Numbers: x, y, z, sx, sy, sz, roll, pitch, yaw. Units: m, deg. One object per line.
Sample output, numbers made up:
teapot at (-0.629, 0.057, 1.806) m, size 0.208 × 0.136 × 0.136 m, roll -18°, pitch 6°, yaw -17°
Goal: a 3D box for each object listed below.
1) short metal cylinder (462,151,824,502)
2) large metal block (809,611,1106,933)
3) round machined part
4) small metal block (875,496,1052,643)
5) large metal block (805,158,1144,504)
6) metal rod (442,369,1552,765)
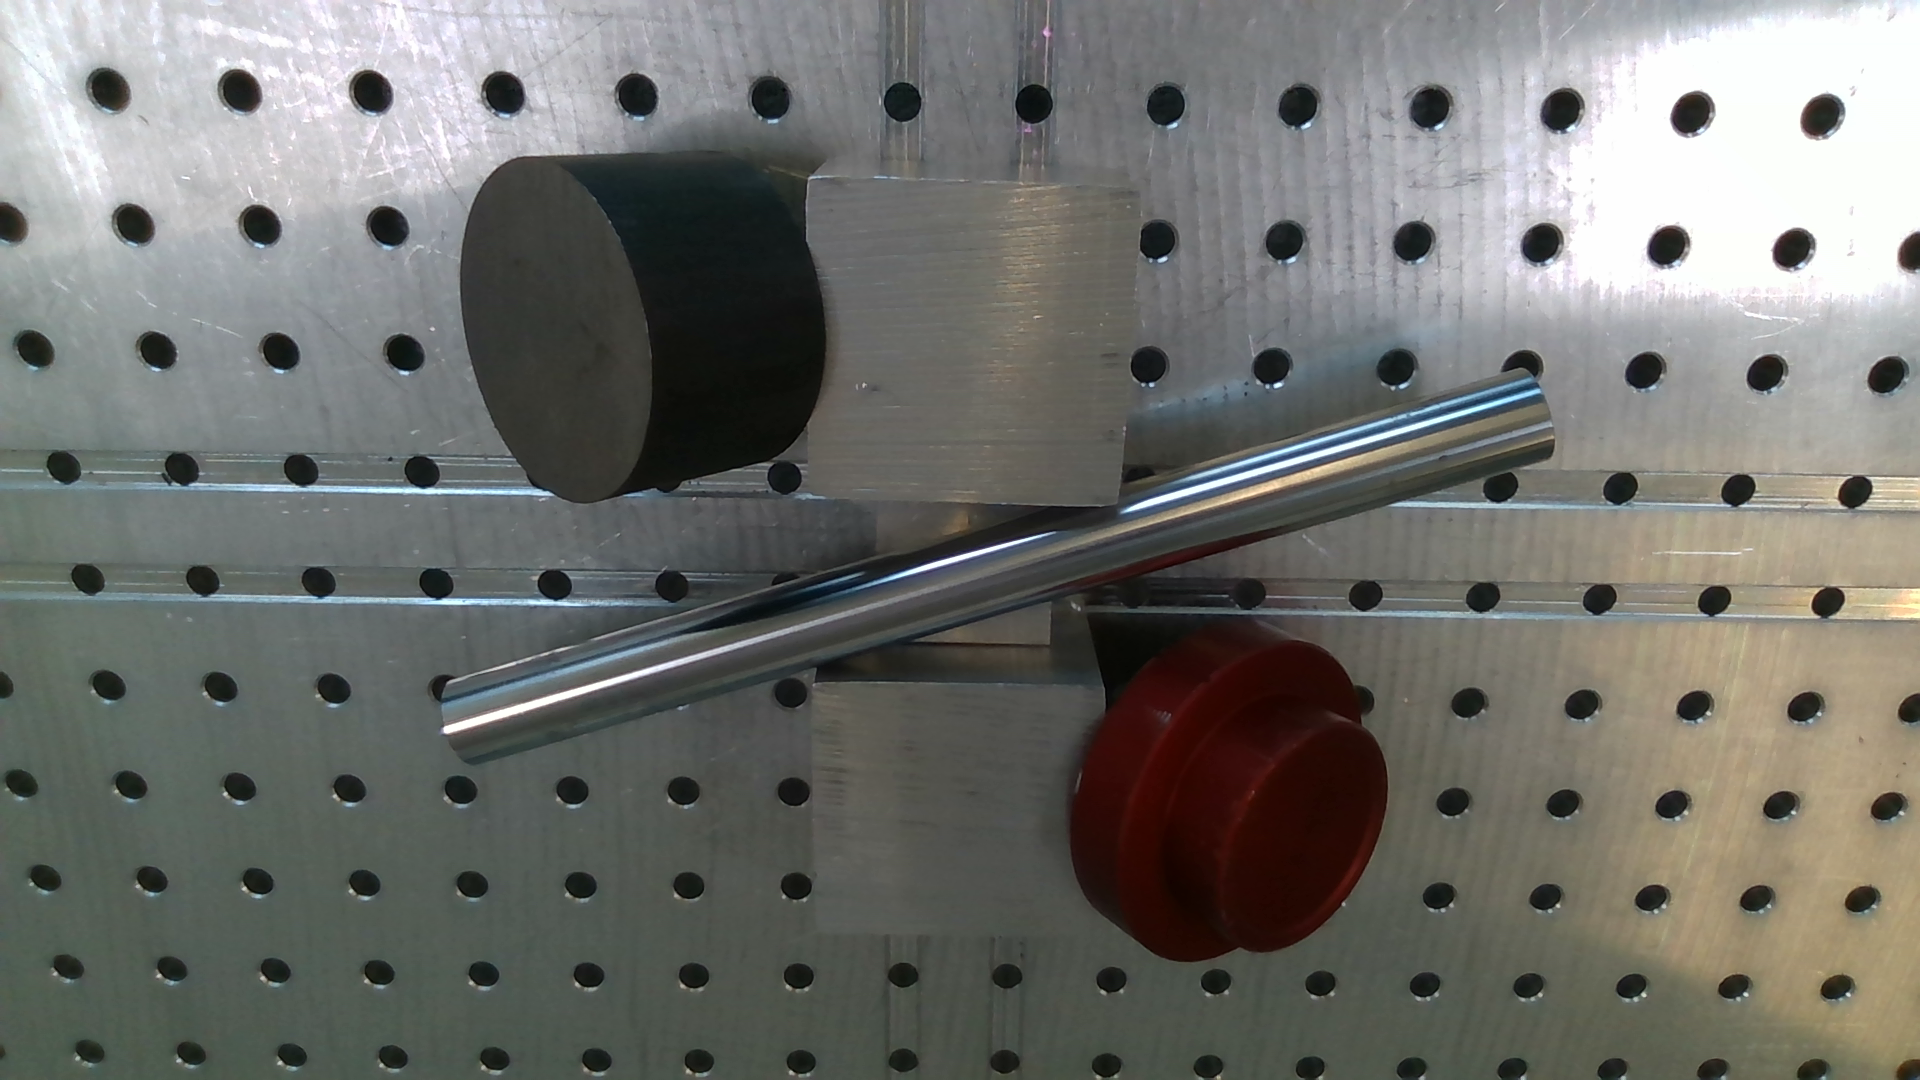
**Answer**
short metal cylinder at (-0.079, -0.054, 0.340) m, size 0.080 × 0.050 × 0.080 m, roll 16°, pitch 114°, yaw 40°
large metal block at (-0.001, 0.067, 0.408) m, size 0.080 × 0.050 × 0.080 m, roll 1°, pitch 110°, yaw 0°
round machined part at (0.081, 0.075, 0.388) m, size 0.098 × 0.042 × 0.098 m, roll -14°, pitch 115°, yaw -32°
small metal block at (0.001, 0.001, 0.397) m, size 0.050 × 0.025 × 0.050 m, roll 1°, pitch 110°, yaw 0°
large metal block at (0.002, -0.057, 0.363) m, size 0.080 × 0.050 × 0.080 m, roll 2°, pitch 110°, yaw -1°
metal rod at (0.004, 0.009, 0.372) m, size 0.300 × 0.025 × 0.025 m, roll -16°, pitch 109°, yaw 6°
